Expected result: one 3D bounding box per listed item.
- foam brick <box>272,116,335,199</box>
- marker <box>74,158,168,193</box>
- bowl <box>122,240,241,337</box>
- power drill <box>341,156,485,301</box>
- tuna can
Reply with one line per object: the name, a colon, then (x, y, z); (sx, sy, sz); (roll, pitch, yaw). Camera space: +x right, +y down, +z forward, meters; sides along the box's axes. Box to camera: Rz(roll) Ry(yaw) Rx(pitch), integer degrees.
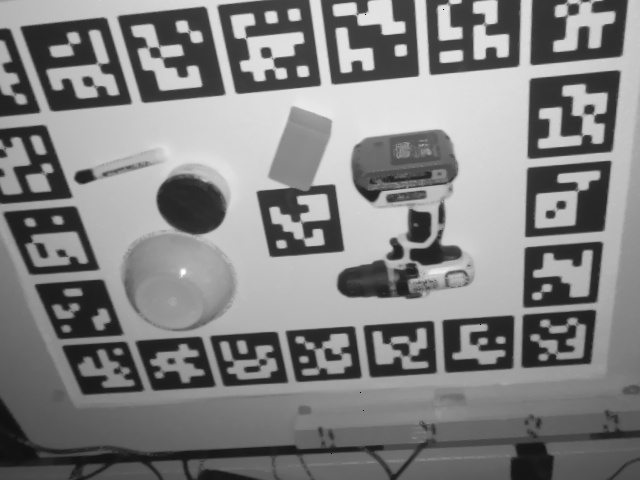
foam brick: (-0.020, -0.097, 0.819); (0.051, 0.053, 0.077); (18, 118, -5)
marker: (-0.246, -0.079, 0.852); (0.120, 0.020, 0.019); (-12, 117, 11)
bowl: (-0.189, 0.078, 0.931); (0.162, 0.055, 0.160); (-1, 126, 0)
power drill: (0.108, -0.006, 0.858); (0.184, 0.058, 0.186); (-4, 122, 10)
tuna can: (-0.155, -0.036, 0.864); (0.085, 0.034, 0.085); (2, 120, 5)
